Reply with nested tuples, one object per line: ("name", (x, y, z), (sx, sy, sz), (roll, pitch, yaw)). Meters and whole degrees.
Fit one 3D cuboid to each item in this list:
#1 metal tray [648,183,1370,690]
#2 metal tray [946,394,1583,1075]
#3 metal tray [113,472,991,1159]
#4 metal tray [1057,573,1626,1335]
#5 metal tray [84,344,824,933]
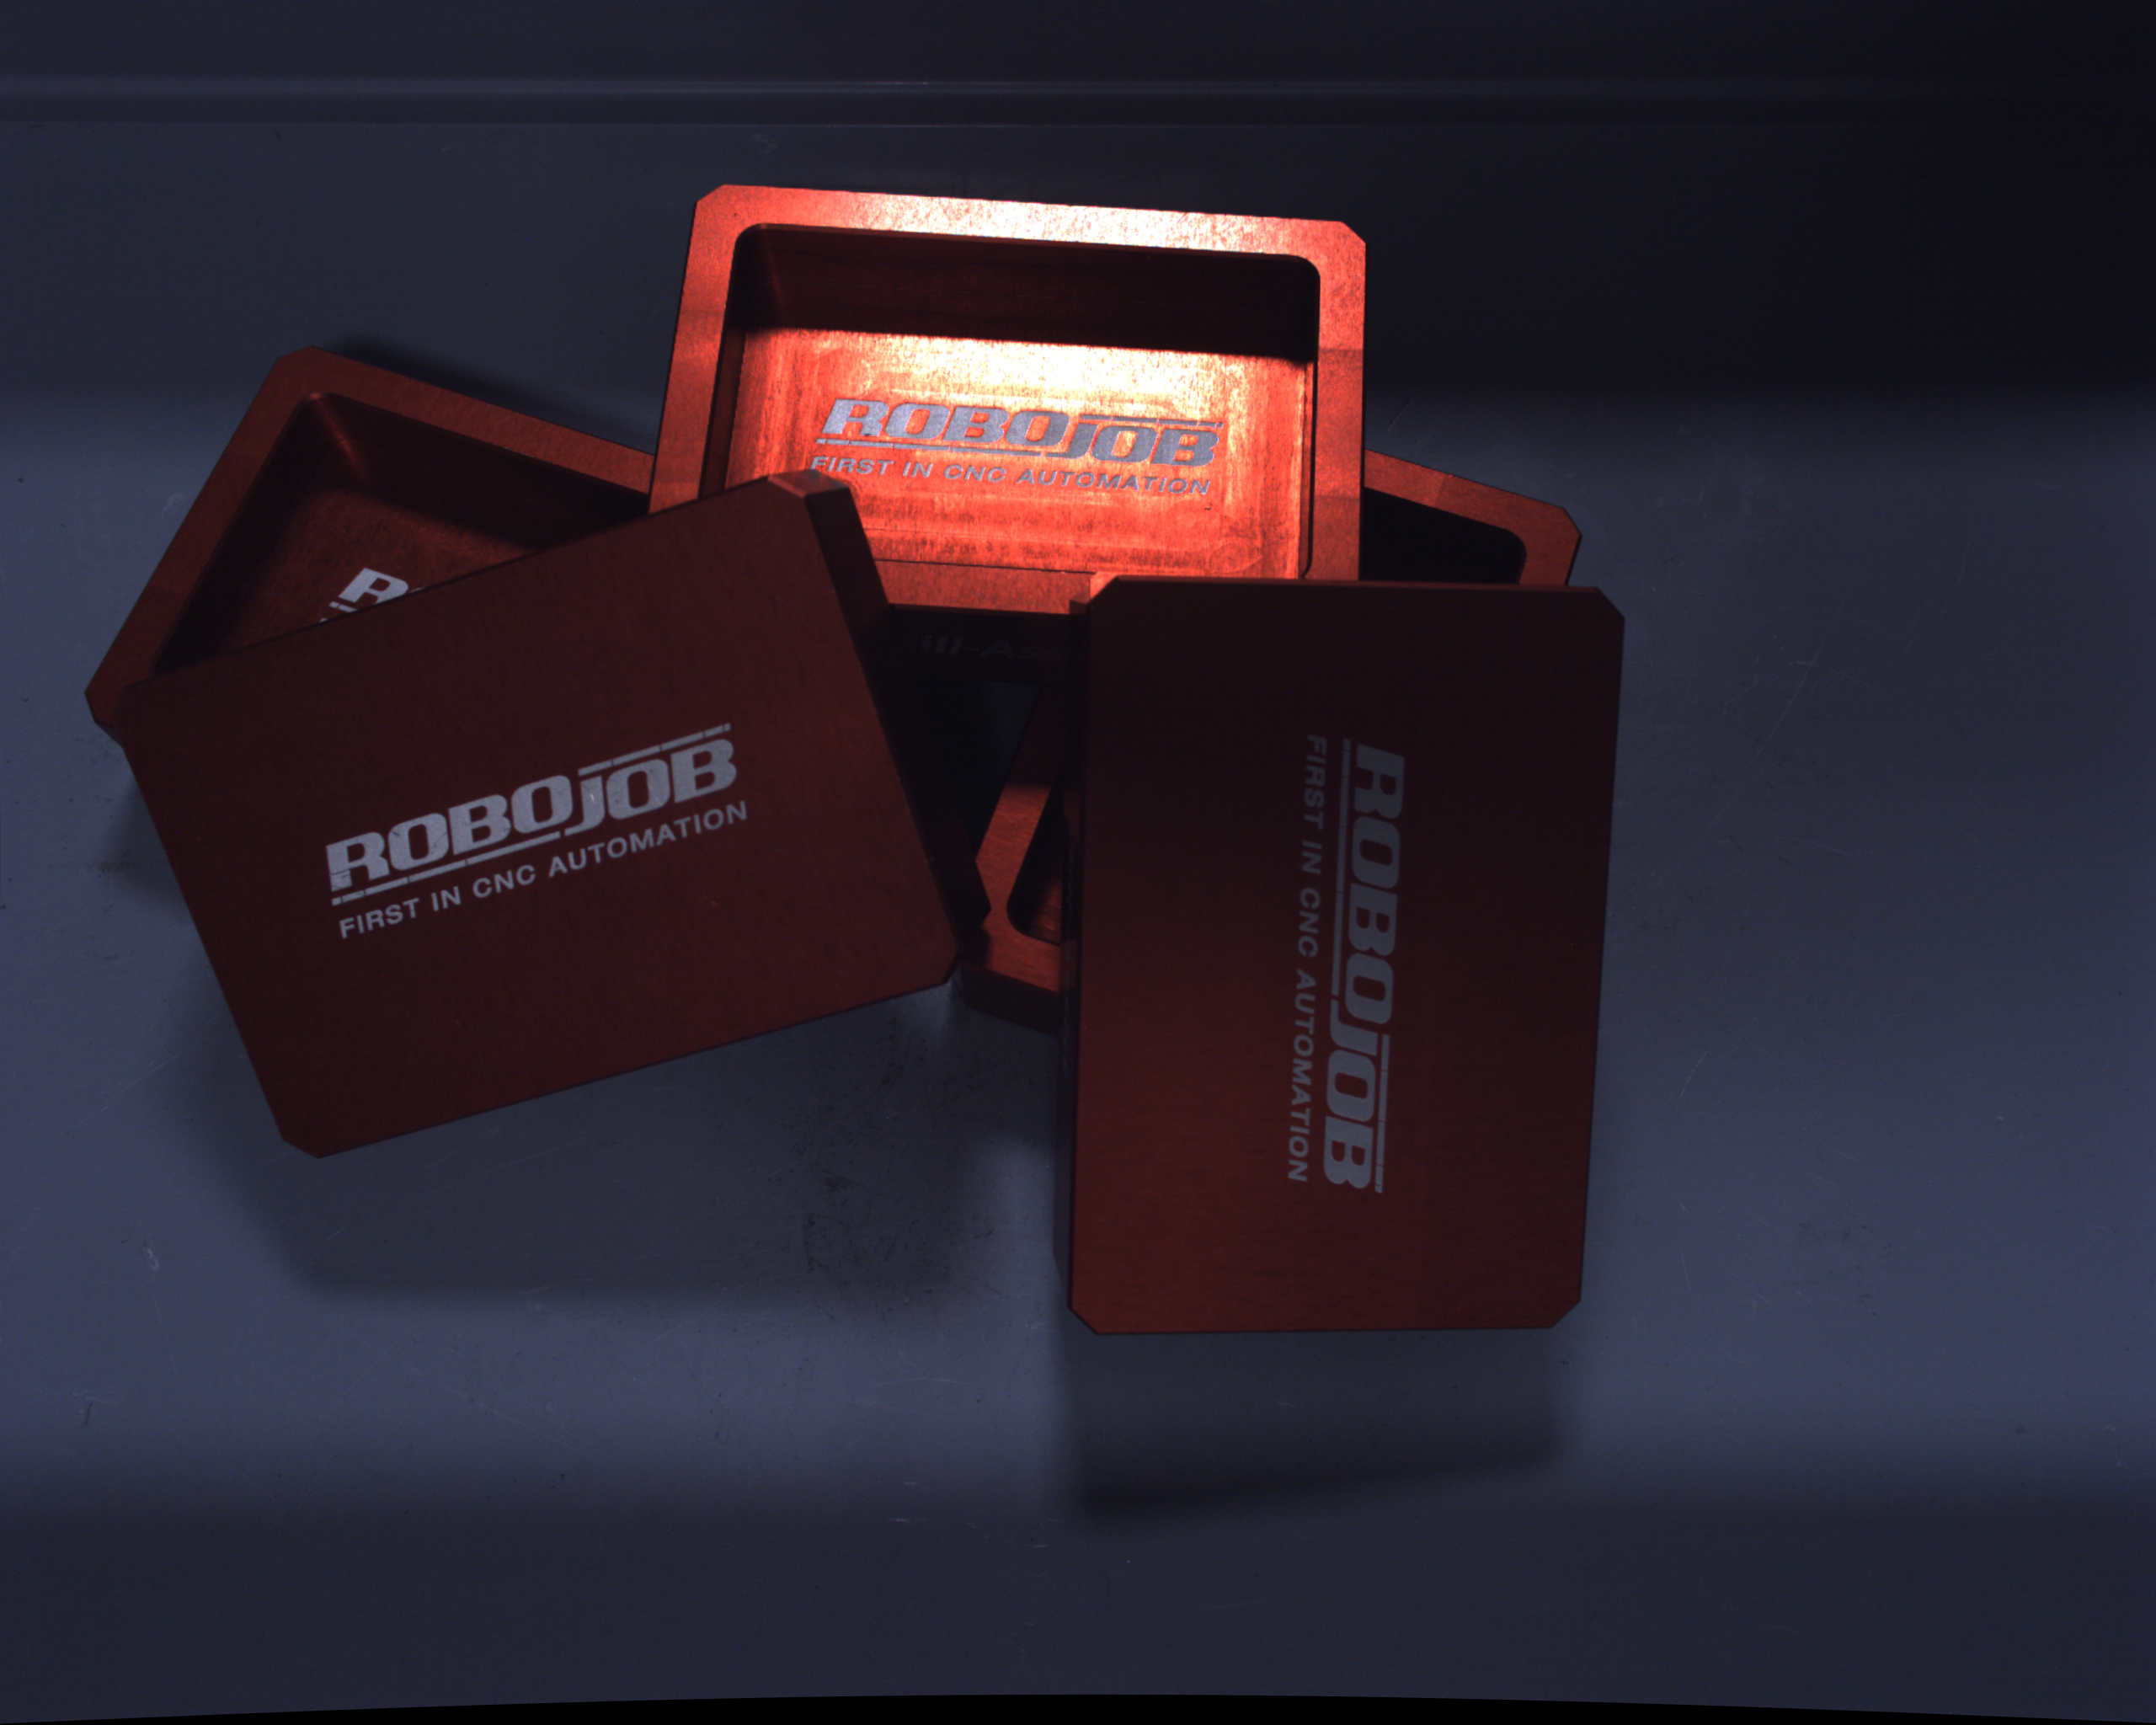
("metal tray", (-0.011, -0.082, 0.403), (0.131, 0.030, 0.090), (3, 70, 1))
("metal tray", (0.038, -0.021, 0.413), (0.090, 0.030, 0.130), (18, 71, 6))
("metal tray", (-0.092, -0.008, 0.371), (0.130, 0.030, 0.089), (-16, 100, 10))
("metal tray", (0.044, 0.015, 0.366), (0.091, 0.030, 0.129), (1, 98, -6))
("metal tray", (-0.115, -0.043, 0.418), (0.131, 0.030, 0.090), (19, 71, 6))
